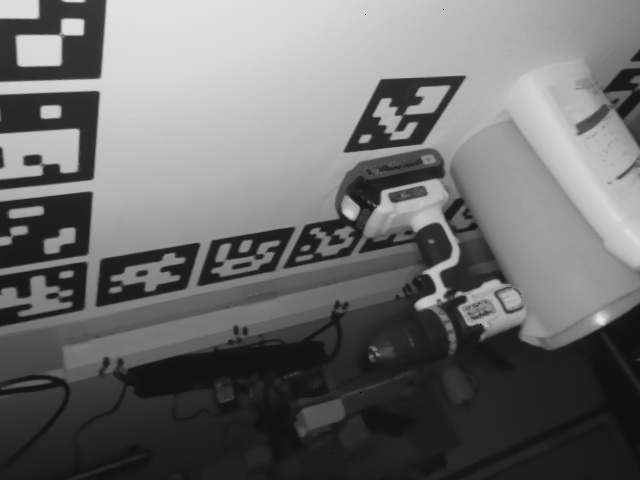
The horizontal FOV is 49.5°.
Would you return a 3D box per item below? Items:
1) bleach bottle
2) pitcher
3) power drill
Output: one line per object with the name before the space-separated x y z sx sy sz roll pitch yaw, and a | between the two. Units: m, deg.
bleach bottle | 0.335 -0.059 0.685 0.104 0.251 0.067 -15 149 -21
pitcher | 0.290 -0.012 0.765 0.189 0.242 0.133 -25 150 -5
power drill | 0.133 0.018 0.703 0.187 0.187 0.056 -8 144 -20
